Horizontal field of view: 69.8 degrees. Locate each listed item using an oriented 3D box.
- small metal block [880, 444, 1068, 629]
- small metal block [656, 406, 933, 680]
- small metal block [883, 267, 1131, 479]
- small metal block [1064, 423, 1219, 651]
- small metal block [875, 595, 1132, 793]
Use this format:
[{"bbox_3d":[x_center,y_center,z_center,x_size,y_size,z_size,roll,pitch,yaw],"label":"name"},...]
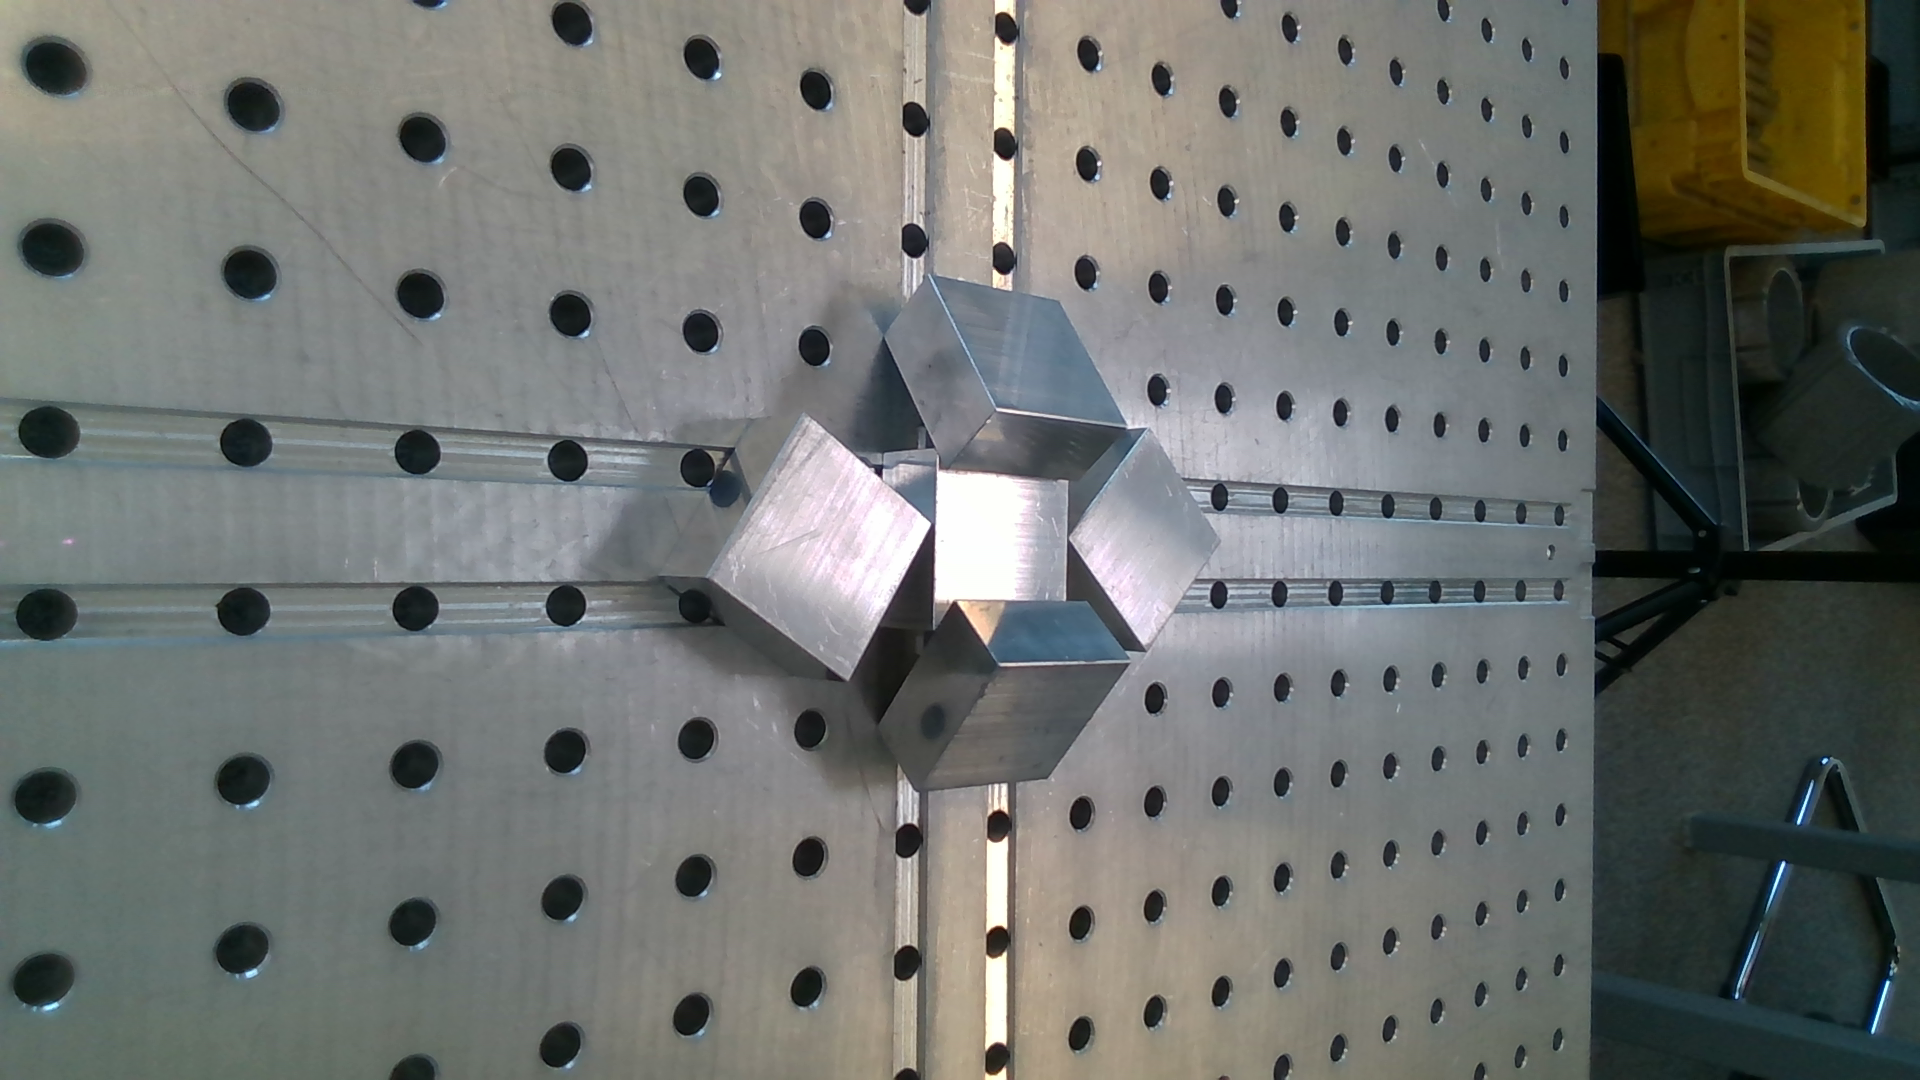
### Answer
[{"bbox_3d":[0.004,0.000,0.397,0.050,0.025,0.050,2,89,-41],"label":"small metal block"},{"bbox_3d":[-0.042,0.002,0.358,0.050,0.025,0.050,41,63,-32],"label":"small metal block"},{"bbox_3d":[0.013,-0.046,0.388,0.050,0.025,0.050,3,52,-39],"label":"small metal block"},{"bbox_3d":[0.050,-0.001,0.436,0.050,0.025,0.050,-52,121,-28],"label":"small metal block"},{"bbox_3d":[0.012,0.043,0.386,0.050,0.025,0.050,3,128,-40],"label":"small metal block"}]
